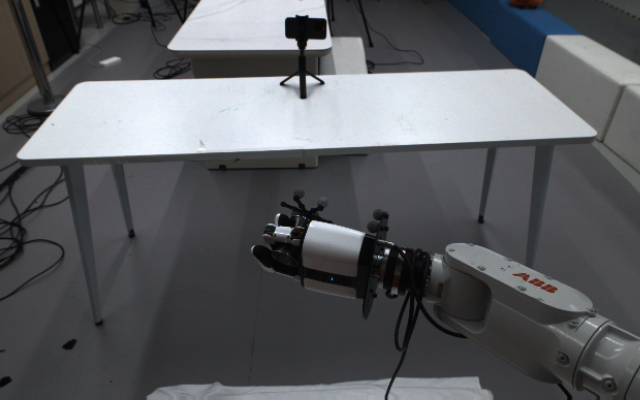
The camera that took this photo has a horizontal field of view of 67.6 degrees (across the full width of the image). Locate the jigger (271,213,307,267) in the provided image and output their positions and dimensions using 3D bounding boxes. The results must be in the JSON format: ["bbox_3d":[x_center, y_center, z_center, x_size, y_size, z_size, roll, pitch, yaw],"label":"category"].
[{"bbox_3d":[-0.040,0.059,0.736,0.043,0.043,0.071,15,58,18],"label":"jigger"}]
